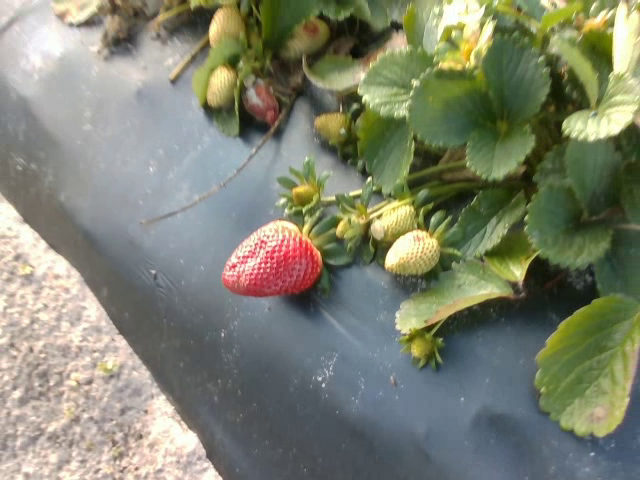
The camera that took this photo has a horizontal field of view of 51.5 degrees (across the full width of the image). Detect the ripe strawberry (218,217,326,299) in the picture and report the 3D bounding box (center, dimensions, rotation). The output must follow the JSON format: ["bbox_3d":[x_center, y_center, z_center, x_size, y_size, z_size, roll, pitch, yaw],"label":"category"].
[{"bbox_3d":[-0.035,0.015,0.431,0.067,0.052,0.045,-33,-27,-27],"label":"ripe strawberry"}]
